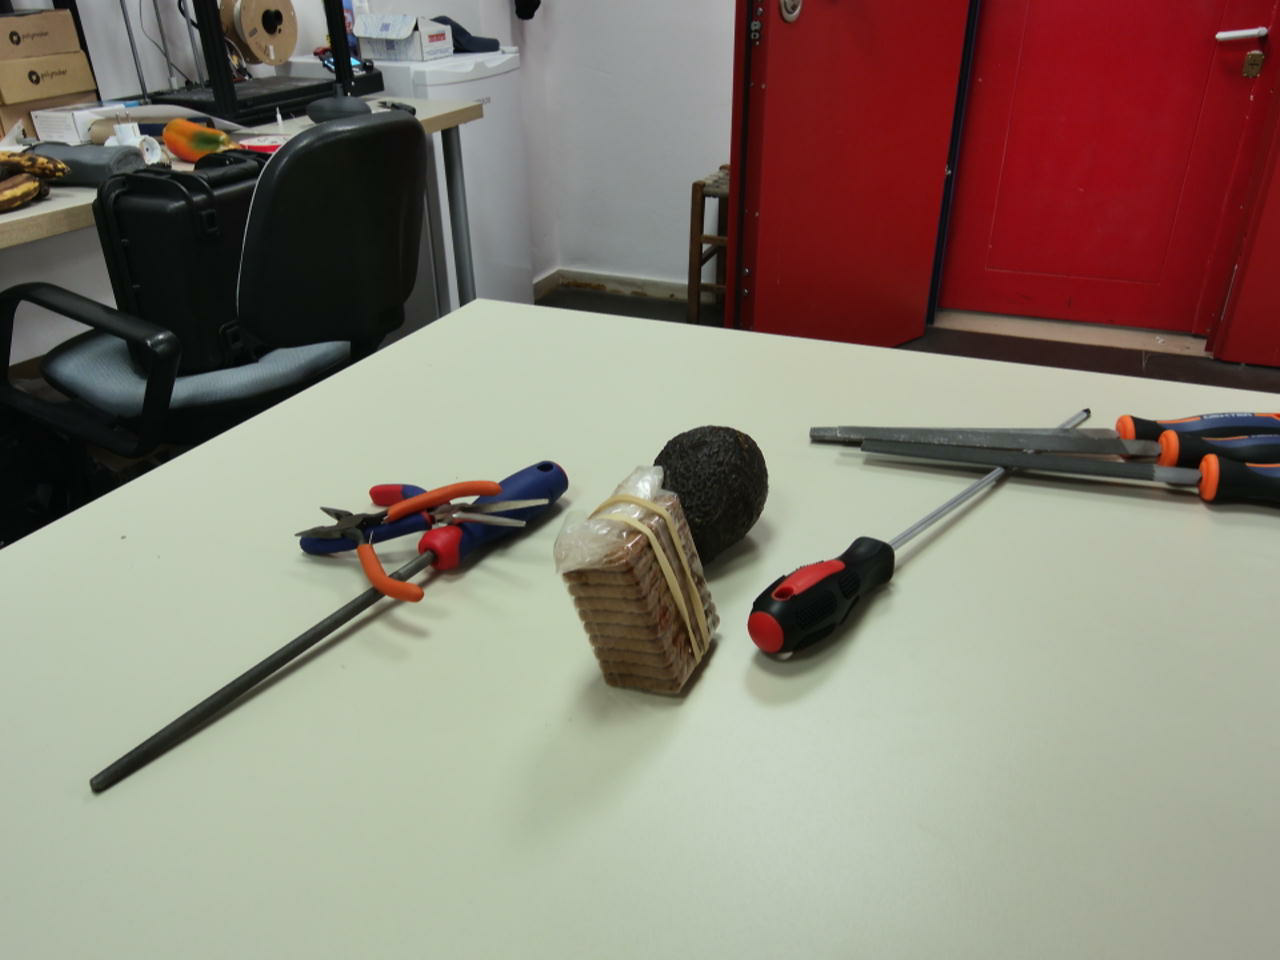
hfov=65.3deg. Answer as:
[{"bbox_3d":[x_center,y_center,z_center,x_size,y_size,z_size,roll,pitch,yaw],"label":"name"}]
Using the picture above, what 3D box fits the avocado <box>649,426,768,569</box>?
[{"bbox_3d":[0.036,0.005,0.587,0.090,0.069,0.070,-21,32,-36],"label":"avocado"}]
